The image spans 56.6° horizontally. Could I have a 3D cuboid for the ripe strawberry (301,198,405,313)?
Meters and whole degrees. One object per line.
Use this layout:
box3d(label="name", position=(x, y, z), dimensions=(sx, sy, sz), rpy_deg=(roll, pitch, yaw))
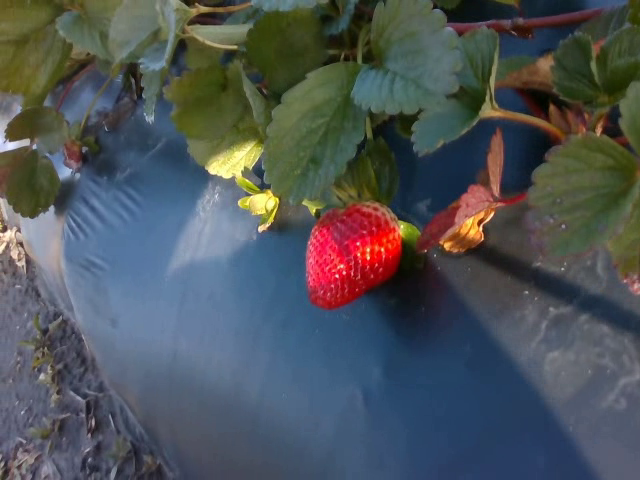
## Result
box3d(label="ripe strawberry", position=(0.008, 0.007, 0.223), dimensions=(0.040, 0.056, 0.041), rpy_deg=(36, -38, -7))
